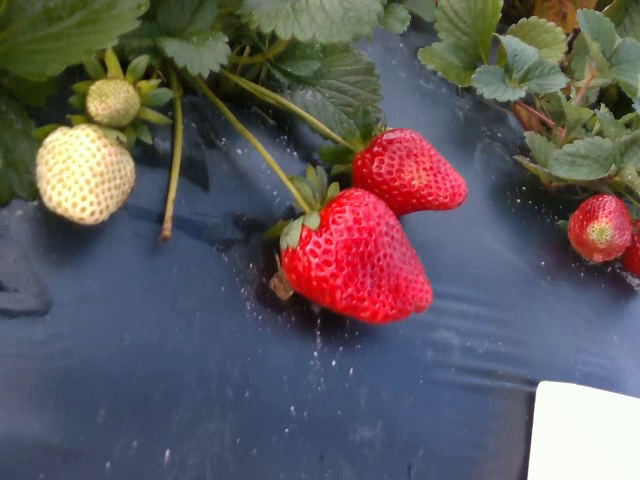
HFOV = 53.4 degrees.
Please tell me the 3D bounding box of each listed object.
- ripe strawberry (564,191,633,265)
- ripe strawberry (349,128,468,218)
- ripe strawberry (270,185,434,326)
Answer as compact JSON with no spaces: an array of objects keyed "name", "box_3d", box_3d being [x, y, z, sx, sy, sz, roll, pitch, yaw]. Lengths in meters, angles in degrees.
[{"name":"ripe strawberry","box_3d":[0.155,-0.005,0.345,0.038,0.047,0.053,-3,3,31]},{"name":"ripe strawberry","box_3d":[0.046,-0.030,0.292,0.059,0.051,0.051,28,-17,30]},{"name":"ripe strawberry","box_3d":[0.019,0.010,0.247,0.065,0.059,0.044,42,-17,1]}]
